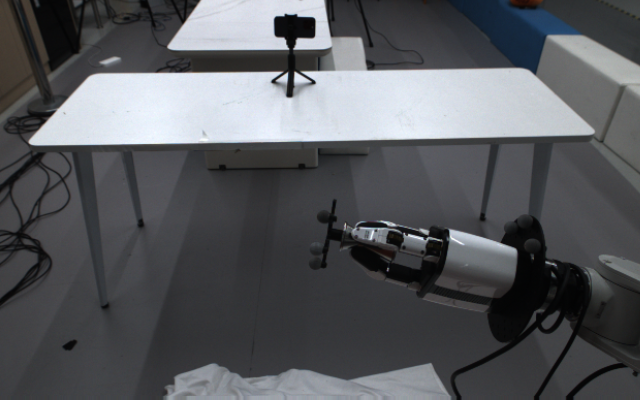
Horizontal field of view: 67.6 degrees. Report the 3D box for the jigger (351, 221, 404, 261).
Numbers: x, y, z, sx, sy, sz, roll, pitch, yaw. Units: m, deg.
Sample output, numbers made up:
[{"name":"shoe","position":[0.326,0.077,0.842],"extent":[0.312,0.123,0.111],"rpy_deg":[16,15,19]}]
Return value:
[{"name":"jigger","position":[0.068,0.048,0.608],"extent":[0.071,0.043,0.043],"rpy_deg":[11,35,3]}]
